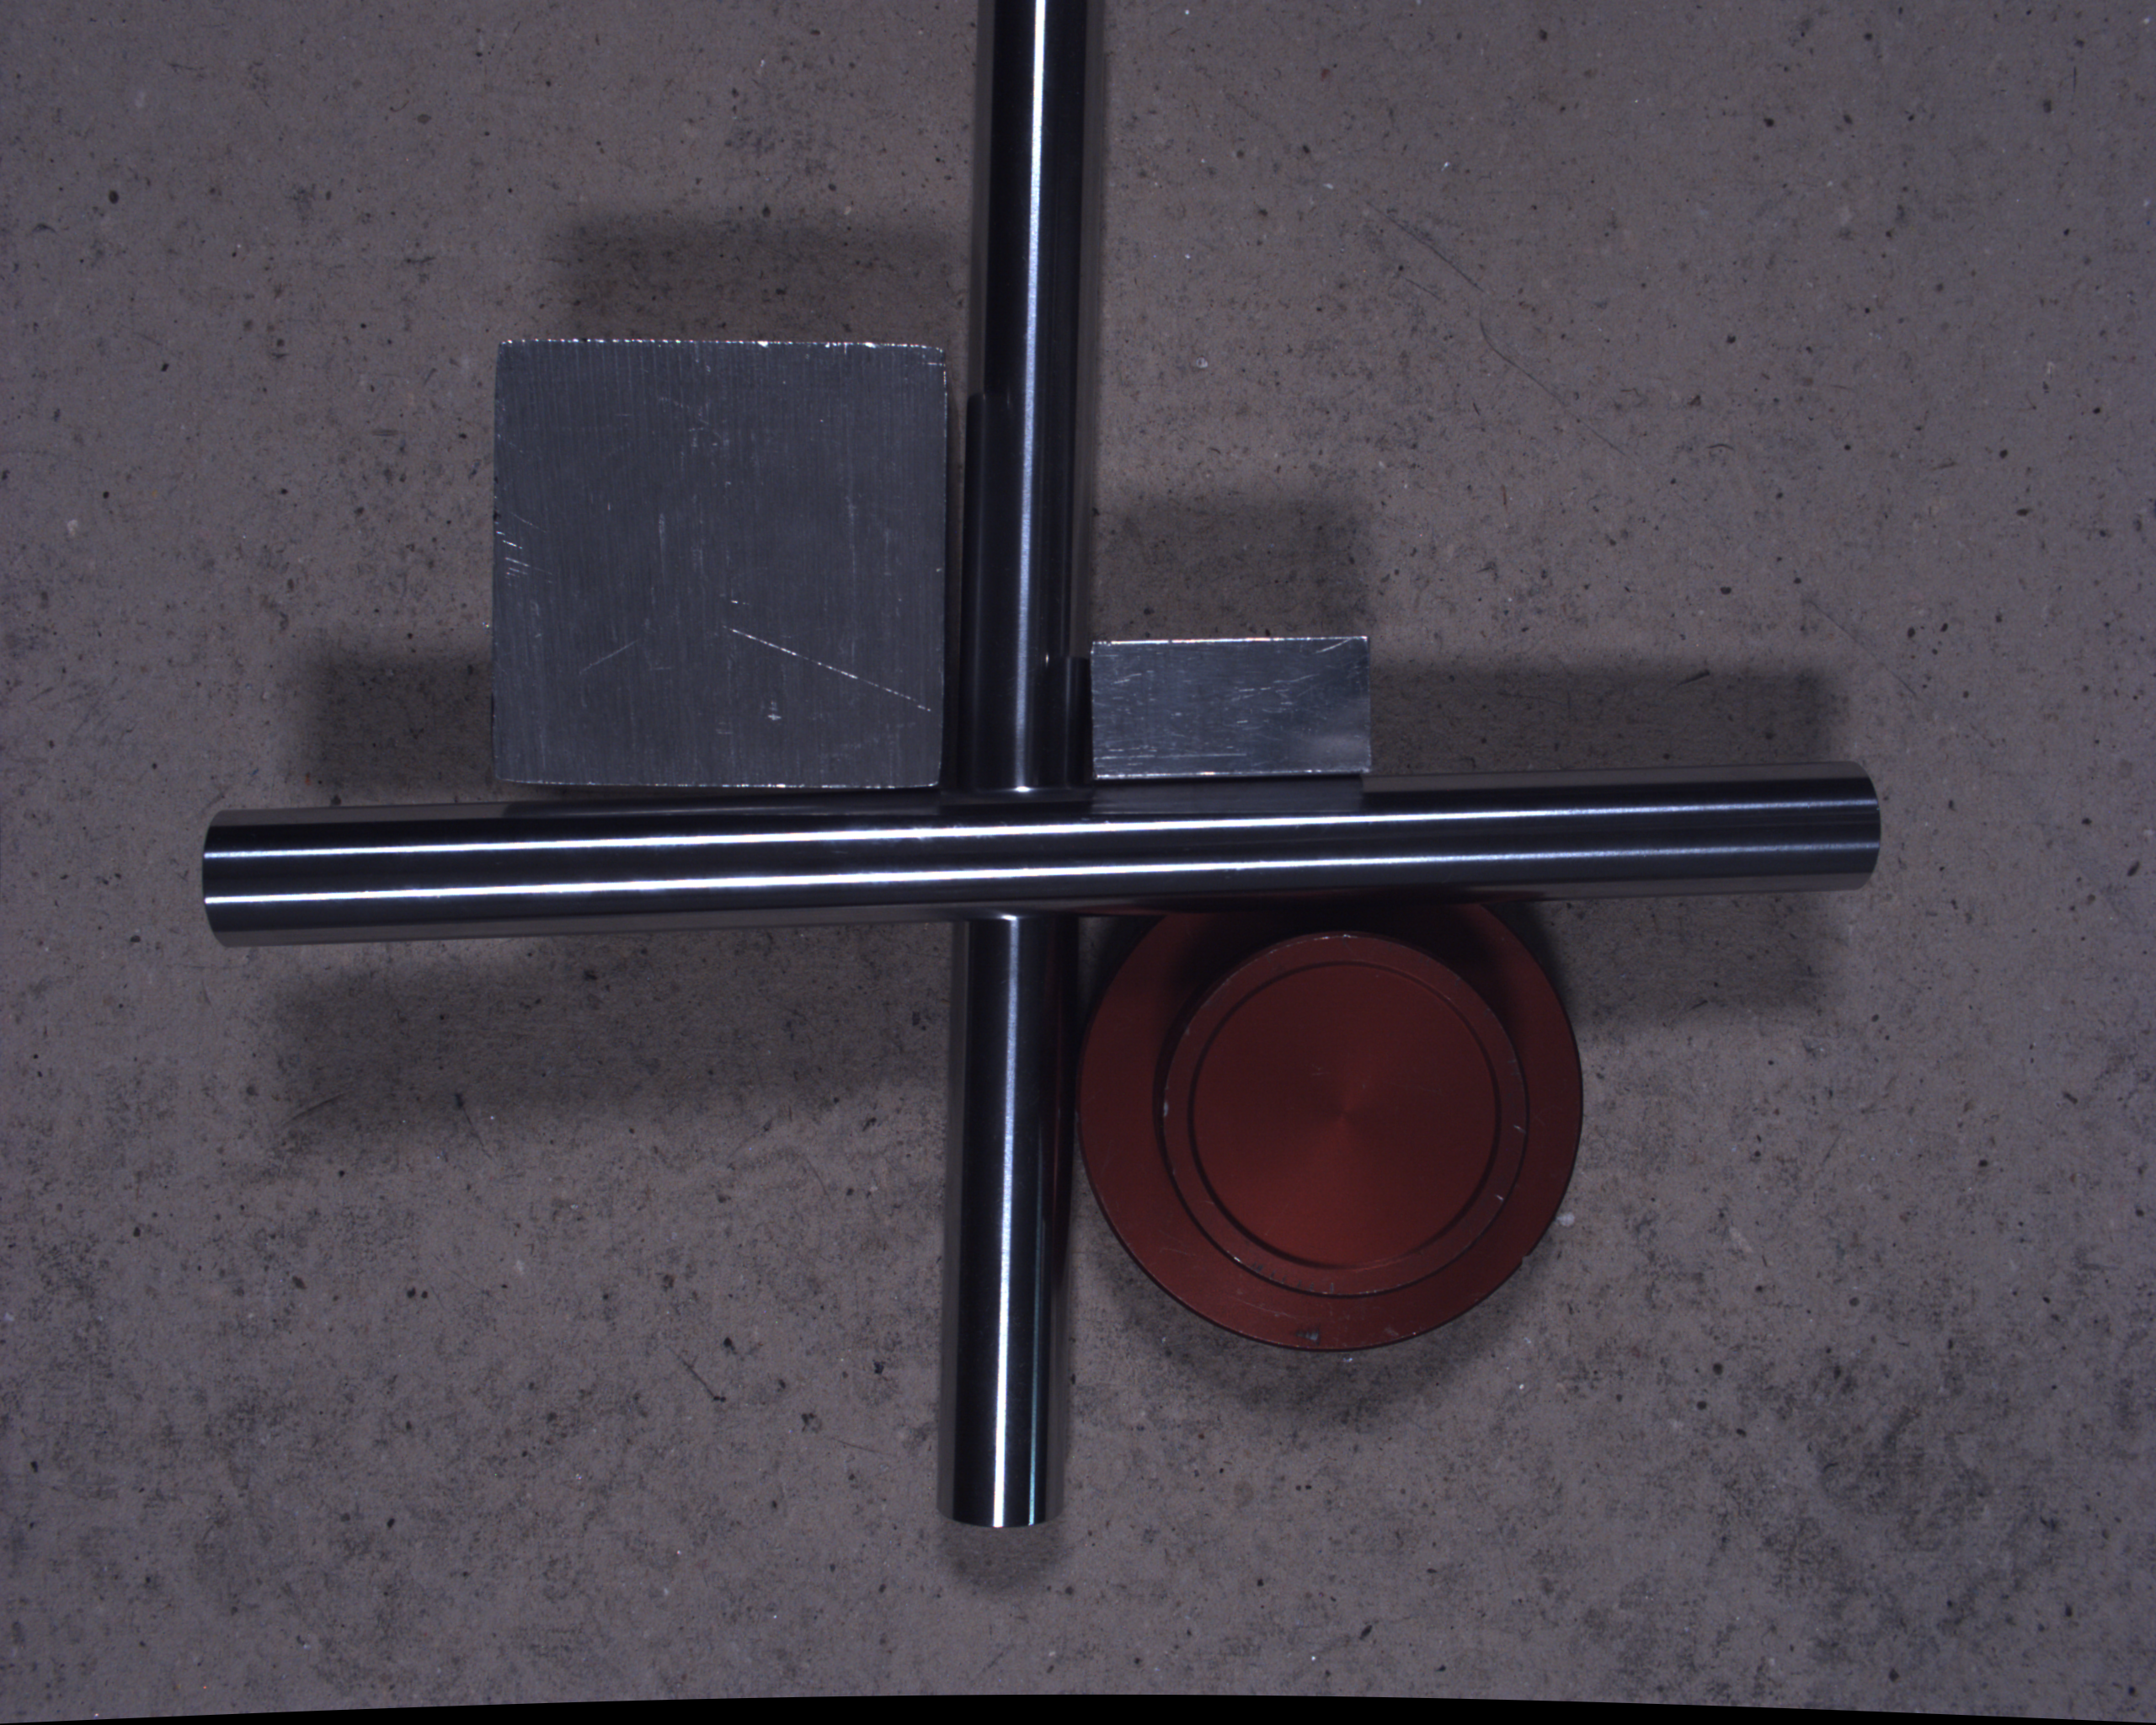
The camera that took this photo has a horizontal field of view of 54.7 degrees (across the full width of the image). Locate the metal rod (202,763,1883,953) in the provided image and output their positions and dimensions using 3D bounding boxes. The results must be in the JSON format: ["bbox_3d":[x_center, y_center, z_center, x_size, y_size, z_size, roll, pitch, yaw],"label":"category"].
[{"bbox_3d":[-0.002,-0.001,0.386,0.302,0.025,0.025,-2,90,-5],"label":"metal rod"}]

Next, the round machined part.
[{"bbox_3d":[0.049,0.047,0.402,0.099,0.042,0.097,0,90,-1],"label":"round machined part"}]

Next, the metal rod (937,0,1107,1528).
[{"bbox_3d":[-0.011,-0.022,0.411,0.025,0.025,0.298,2,90,-1],"label":"metal rod"}]

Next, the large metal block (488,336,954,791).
[{"bbox_3d":[-0.064,-0.054,0.397,0.081,0.050,0.079,1,90,-1],"label":"large metal block"}]

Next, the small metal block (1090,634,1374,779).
[{"bbox_3d":[0.028,-0.028,0.399,0.050,0.050,0.025,-1,90,-1],"label":"small metal block"}]
